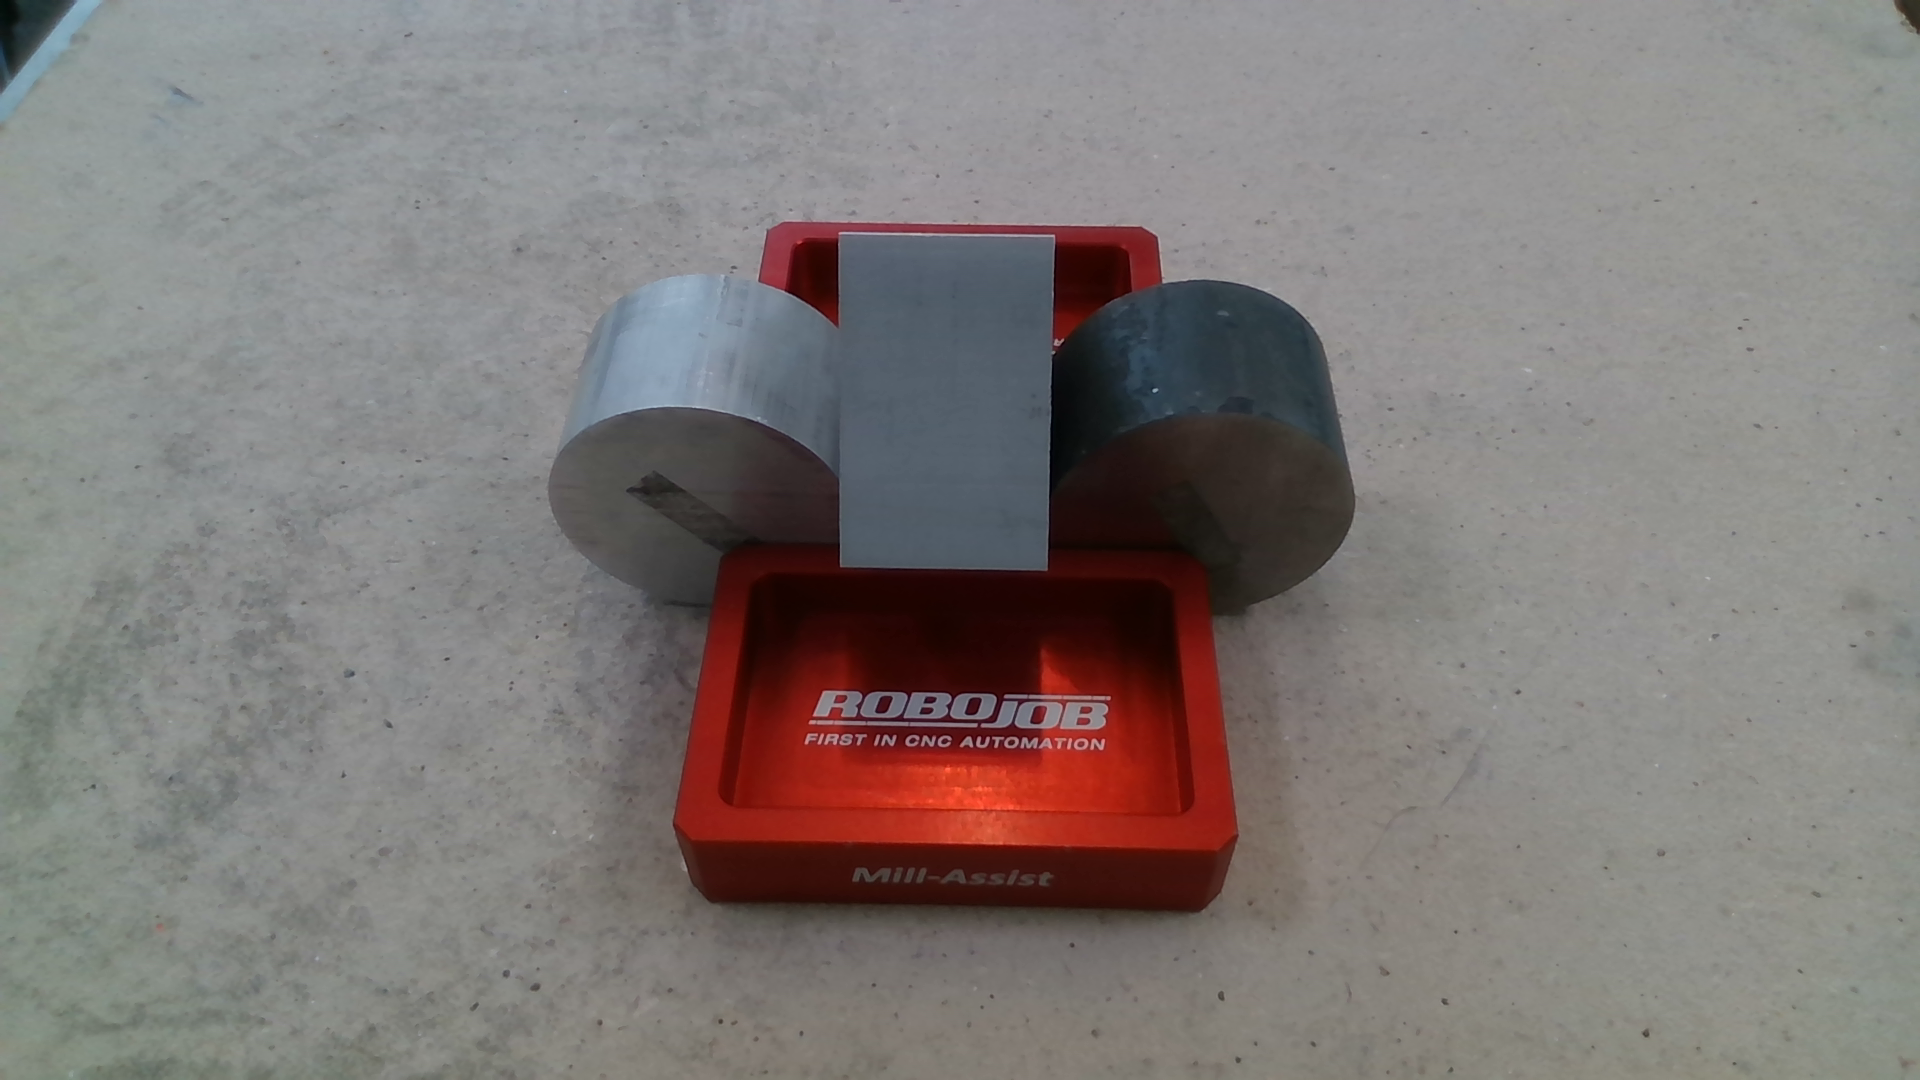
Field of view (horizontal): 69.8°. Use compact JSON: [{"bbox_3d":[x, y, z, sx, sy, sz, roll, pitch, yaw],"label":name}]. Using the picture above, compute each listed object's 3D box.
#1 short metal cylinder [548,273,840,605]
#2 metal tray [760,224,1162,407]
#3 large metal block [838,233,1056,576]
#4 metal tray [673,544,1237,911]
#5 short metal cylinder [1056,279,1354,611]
[{"bbox_3d":[-0.067,-0.026,0.380,0.080,0.080,0.050,1,50,1],"label":"short metal cylinder"},{"bbox_3d":[0.000,-0.061,0.443,0.130,0.030,0.090,1,50,1],"label":"metal tray"},{"bbox_3d":[-0.002,-0.038,0.363,0.050,0.080,0.080,1,10,1],"label":"large metal block"},{"bbox_3d":[0.000,0.046,0.353,0.130,0.030,0.090,1,50,1],"label":"metal tray"},{"bbox_3d":[0.063,-0.024,0.378,0.080,0.080,0.050,1,50,1],"label":"short metal cylinder"}]
